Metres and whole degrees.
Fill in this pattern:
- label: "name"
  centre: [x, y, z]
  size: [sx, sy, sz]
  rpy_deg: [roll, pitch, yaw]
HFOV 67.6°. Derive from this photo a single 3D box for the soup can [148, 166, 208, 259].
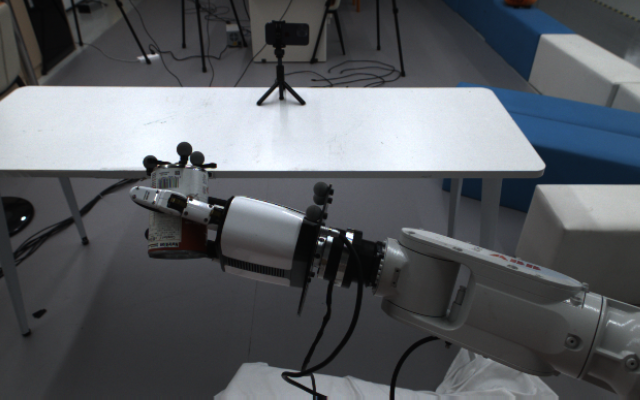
- label: "soup can"
  centre: [-0.164, 0.016, 0.567]
  size: [0.067, 0.067, 0.101]
  rpy_deg: [-1, 76, -5]
